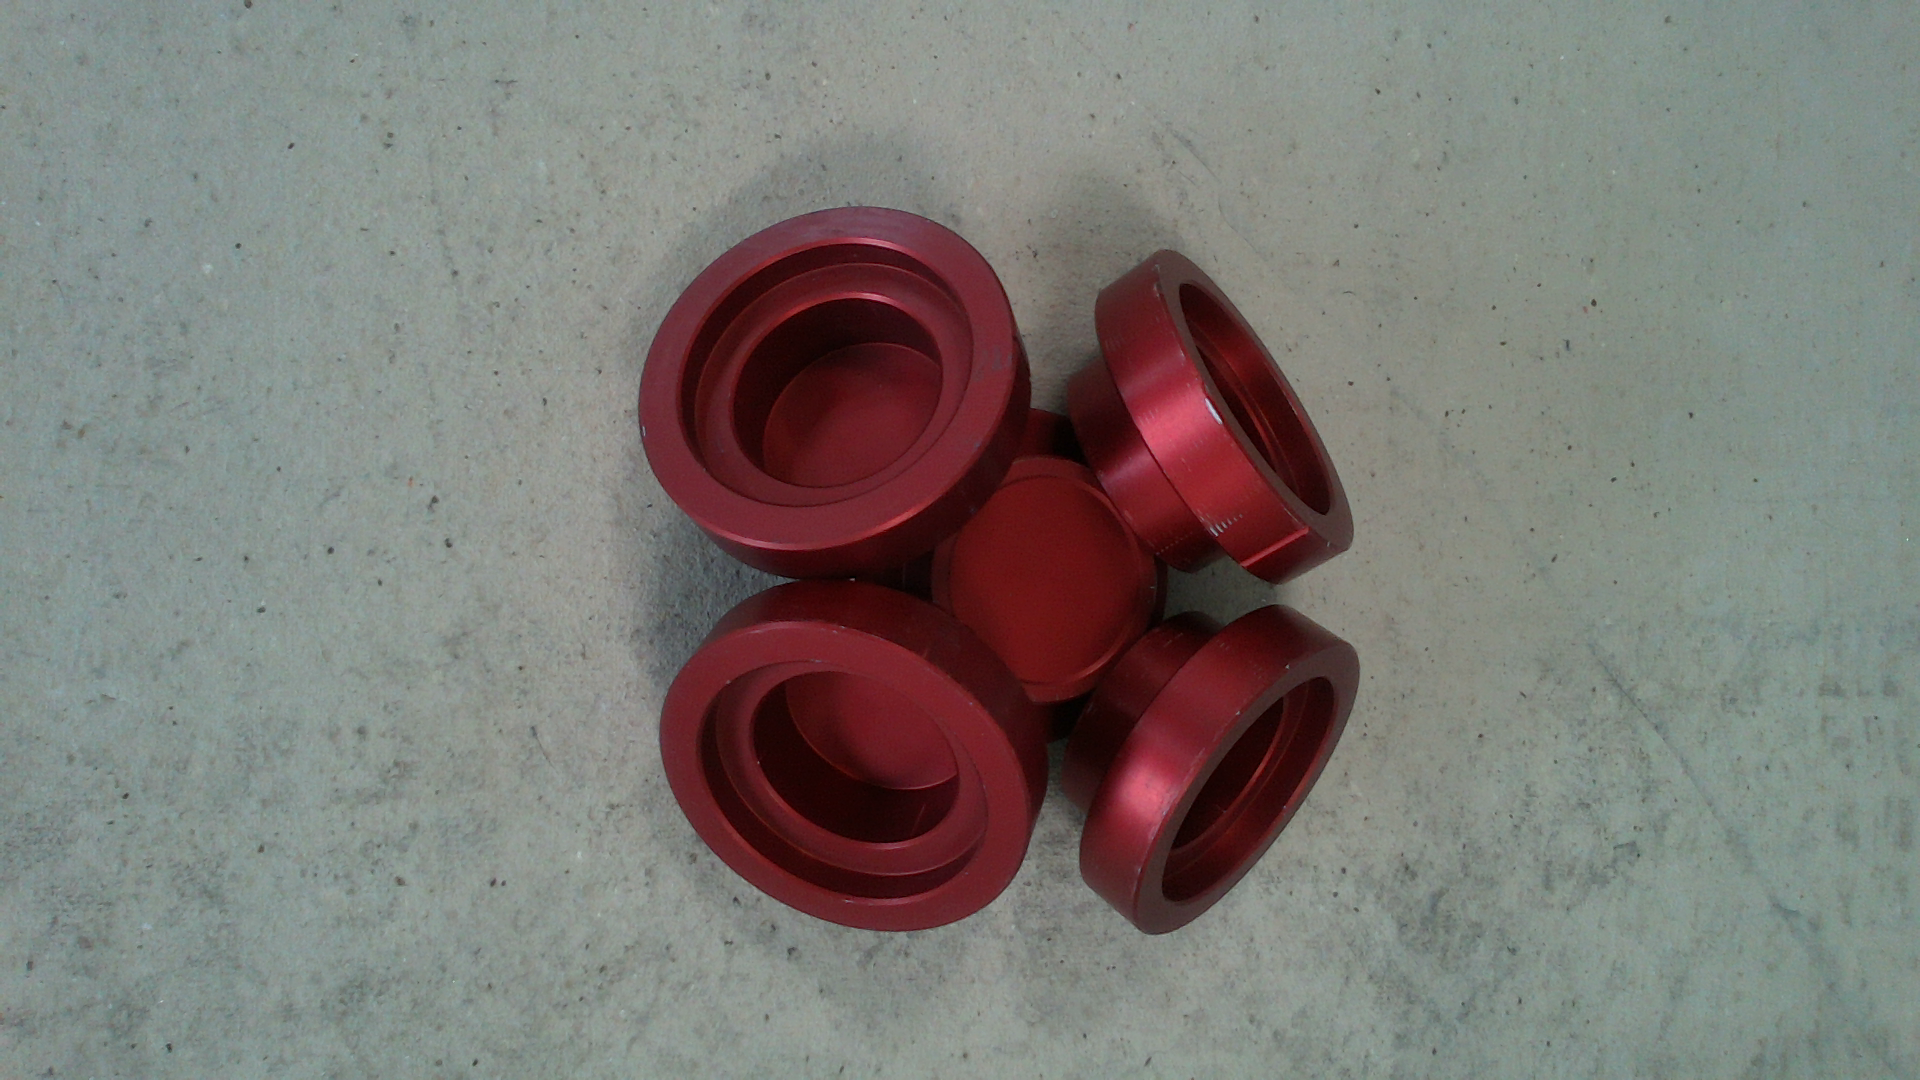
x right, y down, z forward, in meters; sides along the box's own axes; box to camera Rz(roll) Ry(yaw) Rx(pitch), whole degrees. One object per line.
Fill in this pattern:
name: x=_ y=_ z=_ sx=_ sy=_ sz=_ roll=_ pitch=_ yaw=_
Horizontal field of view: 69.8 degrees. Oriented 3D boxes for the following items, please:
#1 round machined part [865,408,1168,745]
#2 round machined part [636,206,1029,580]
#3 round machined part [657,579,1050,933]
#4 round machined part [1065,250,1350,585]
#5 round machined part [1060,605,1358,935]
round machined part: x=0.016 y=0.010 z=0.390 sx=0.098 sy=0.042 sz=0.098 roll=1 pitch=88 yaw=-21
round machined part: x=-0.030 y=-0.034 z=0.357 sx=0.098 sy=0.042 sz=0.098 roll=-5 pitch=64 yaw=12
round machined part: x=-0.024 y=0.051 z=0.357 sx=0.098 sy=0.098 sz=0.042 roll=48 pitch=32 yaw=-14
round machined part: x=0.067 y=-0.030 z=0.390 sx=0.042 sy=0.098 sz=0.098 roll=-32 pitch=104 yaw=25
round machined part: x=0.067 y=0.060 z=0.392 sx=0.098 sy=0.042 sz=0.098 roll=-33 pitch=142 yaw=-30
